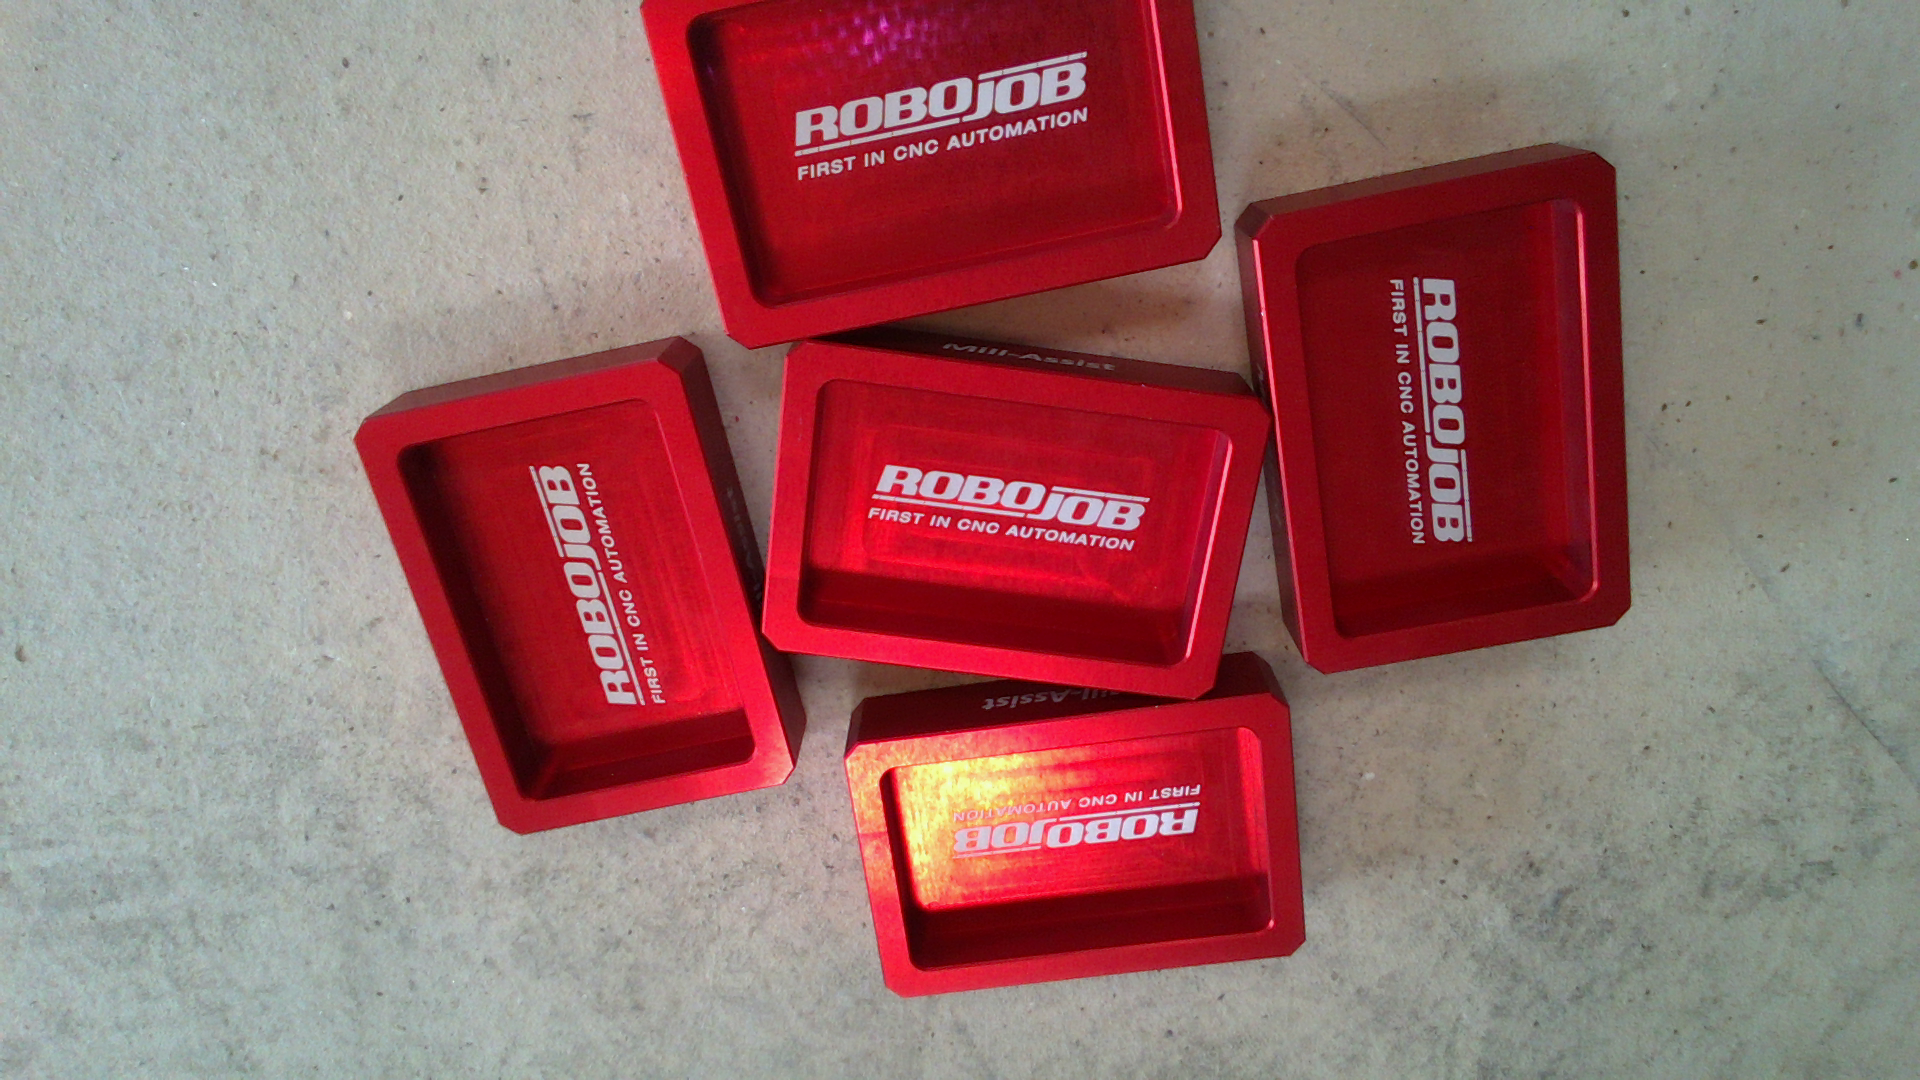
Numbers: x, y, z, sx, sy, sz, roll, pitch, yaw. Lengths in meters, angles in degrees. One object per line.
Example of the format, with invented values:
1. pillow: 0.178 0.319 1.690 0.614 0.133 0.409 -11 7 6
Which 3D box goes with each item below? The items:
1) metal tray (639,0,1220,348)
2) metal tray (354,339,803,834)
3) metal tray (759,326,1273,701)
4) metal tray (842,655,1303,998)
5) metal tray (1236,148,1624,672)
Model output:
1. metal tray: -0.005 -0.107 0.352 0.130 0.030 0.090 -10 110 4
2. metal tray: -0.105 0.015 0.397 0.090 0.030 0.130 -11 110 4
3. metal tray: 0.013 -0.008 0.388 0.130 0.030 0.090 7 112 -2
4. metal tray: 0.035 0.089 0.424 0.130 0.030 0.090 -7 110 3
5. metal tray: 0.130 -0.034 0.380 0.090 0.030 0.130 -10 110 4
